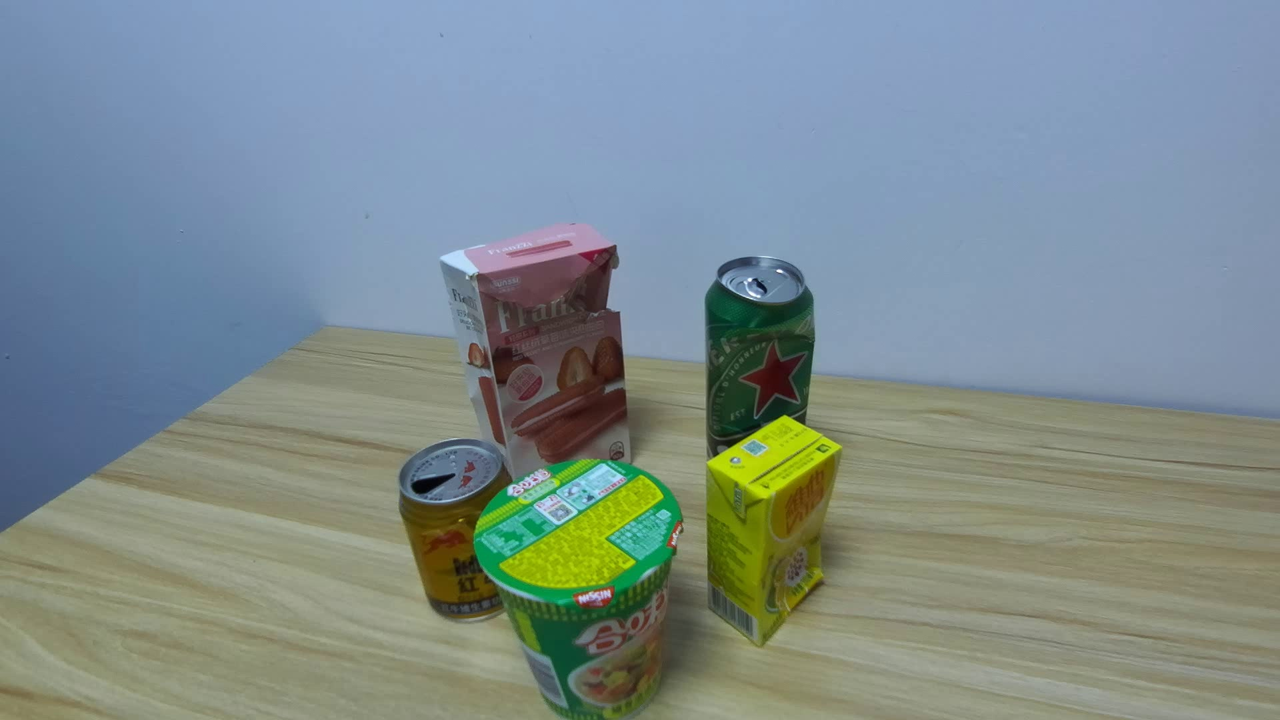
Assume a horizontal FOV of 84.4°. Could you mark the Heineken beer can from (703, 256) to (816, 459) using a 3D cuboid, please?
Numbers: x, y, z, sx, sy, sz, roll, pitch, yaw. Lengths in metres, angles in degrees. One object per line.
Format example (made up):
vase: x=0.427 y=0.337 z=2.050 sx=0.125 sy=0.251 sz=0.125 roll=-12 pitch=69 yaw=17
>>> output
Heineken beer can: x=0.077 y=0.019 z=0.469 sx=0.068 sy=0.168 sz=0.069 roll=6 pitch=34 yaw=14

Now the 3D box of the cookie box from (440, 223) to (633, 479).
cookie box: x=-0.065 y=0.007 z=0.497 sx=0.105 sy=0.186 sz=0.059 roll=-18 pitch=33 yaw=-25

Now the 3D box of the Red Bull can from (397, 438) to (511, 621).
Red Bull can: x=-0.106 y=0.102 z=0.431 sx=0.068 sy=0.093 sz=0.068 roll=-3 pitch=29 yaw=2

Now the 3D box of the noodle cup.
noodle cup: x=-0.027 y=0.123 z=0.360 sx=0.097 sy=0.110 sz=0.097 roll=-2 pitch=30 yaw=2

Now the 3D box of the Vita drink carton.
Vita drink carton: x=0.077 y=0.094 z=0.398 sx=0.077 sy=0.109 sz=0.043 roll=-25 pitch=36 yaw=-32
